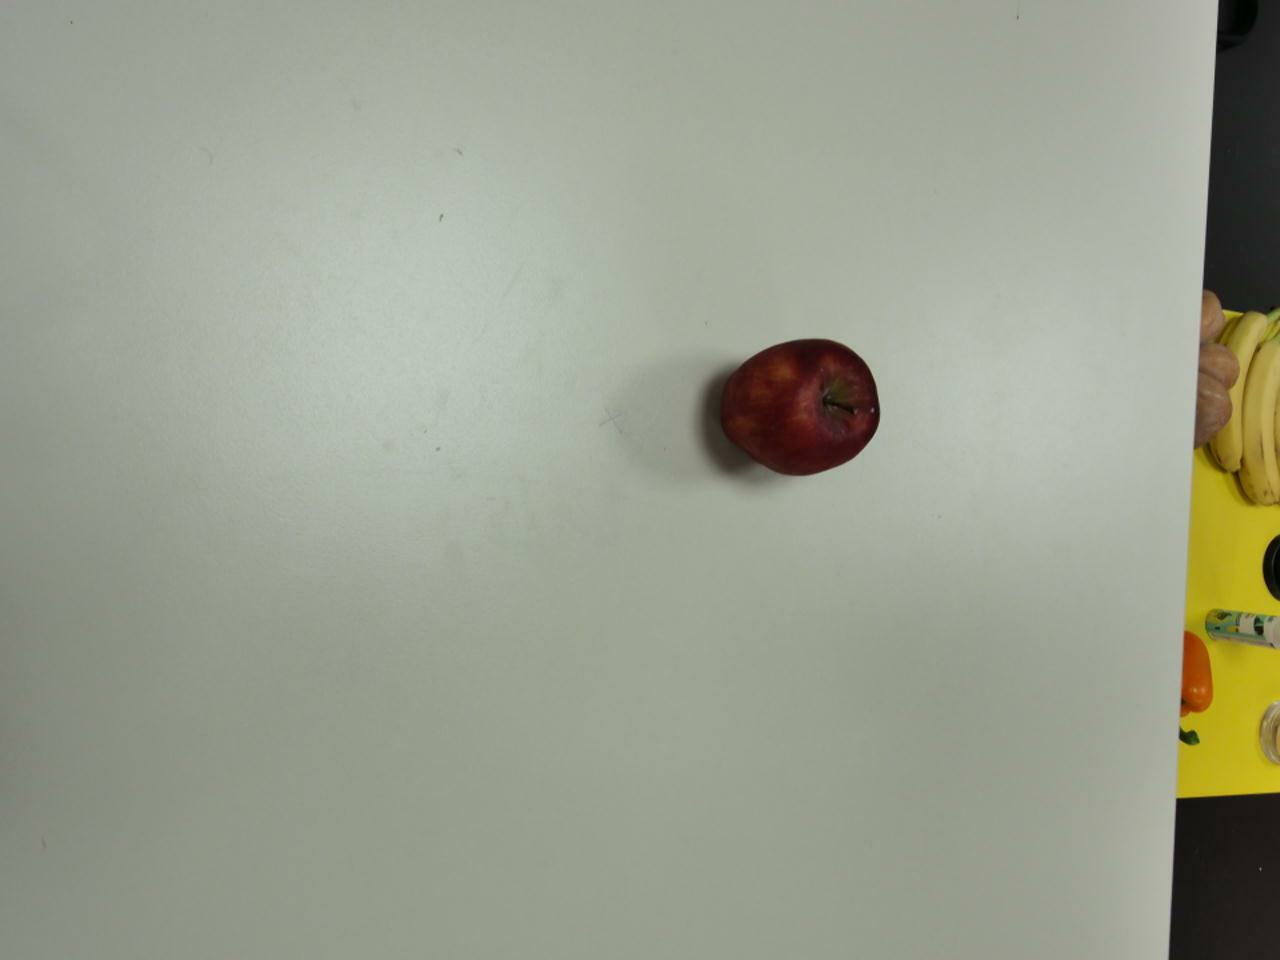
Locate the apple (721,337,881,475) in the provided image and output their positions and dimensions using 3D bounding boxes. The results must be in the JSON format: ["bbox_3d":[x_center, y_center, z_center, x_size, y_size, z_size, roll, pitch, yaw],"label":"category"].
[{"bbox_3d":[0.091,-0.041,0.557,0.083,0.090,0.083,0,90,-22],"label":"apple"}]
